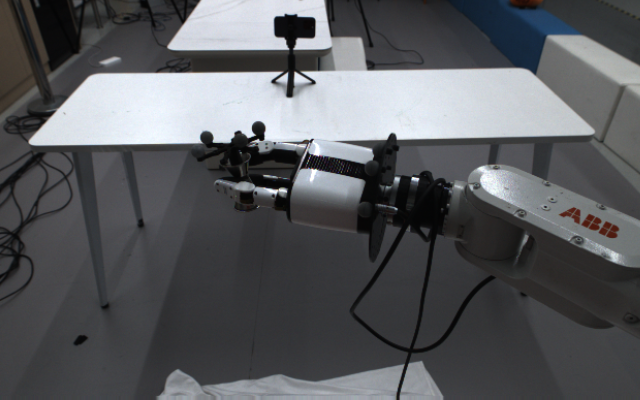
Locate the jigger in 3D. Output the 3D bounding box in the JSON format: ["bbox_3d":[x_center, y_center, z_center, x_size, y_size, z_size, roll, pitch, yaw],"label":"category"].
[{"bbox_3d":[-0.100,-0.024,0.634,0.043,0.071,0.043,-10,32,6],"label":"jigger"}]
